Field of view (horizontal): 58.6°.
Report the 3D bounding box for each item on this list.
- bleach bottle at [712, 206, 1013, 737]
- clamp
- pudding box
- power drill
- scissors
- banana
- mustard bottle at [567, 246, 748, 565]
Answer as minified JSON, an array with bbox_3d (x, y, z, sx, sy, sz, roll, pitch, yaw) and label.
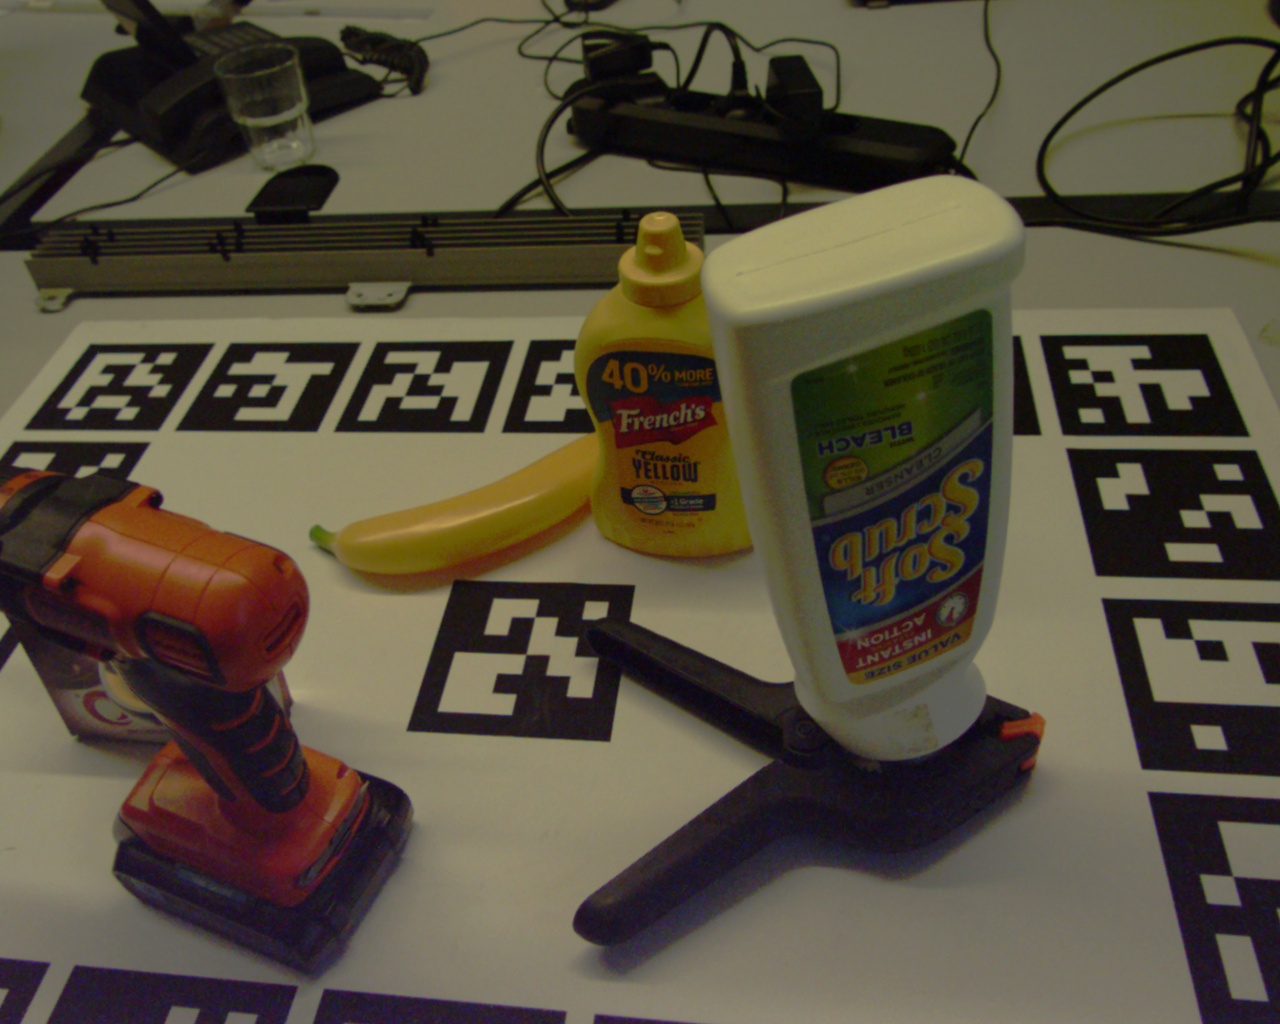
[{"bbox_3d":[0.098,0.010,0.465,0.102,0.249,0.068,-17,40,0],"label":"bleach bottle"},{"bbox_3d":[0.070,0.095,0.532,0.203,0.036,0.166,-3,46,3],"label":"clamp"},{"bbox_3d":[-0.241,0.068,0.587,0.114,0.089,0.038,4,38,11],"label":"pudding box"},{"bbox_3d":[-0.199,0.073,0.465,0.186,0.186,0.057,9,39,20],"label":"power drill"},{"bbox_3d":[-0.255,0.017,0.550,0.205,0.016,0.087,23,55,22],"label":"scissors"},{"bbox_3d":[-0.090,-0.021,0.687,0.196,0.038,0.075,-28,31,-19],"label":"banana"},{"bbox_3d":[0.010,-0.056,0.614,0.097,0.190,0.058,12,46,18],"label":"mustard bottle"}]
